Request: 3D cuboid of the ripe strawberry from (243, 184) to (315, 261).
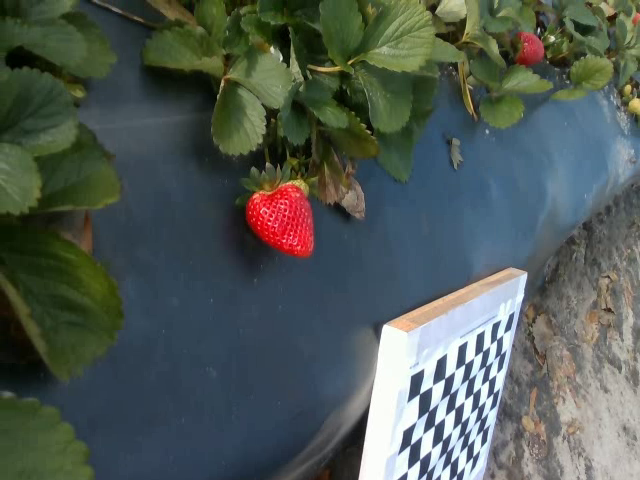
[{"bbox_3d":[-0.021,-0.010,0.365,0.050,0.058,0.045,-42,-21,30],"label":"ripe strawberry"}]
